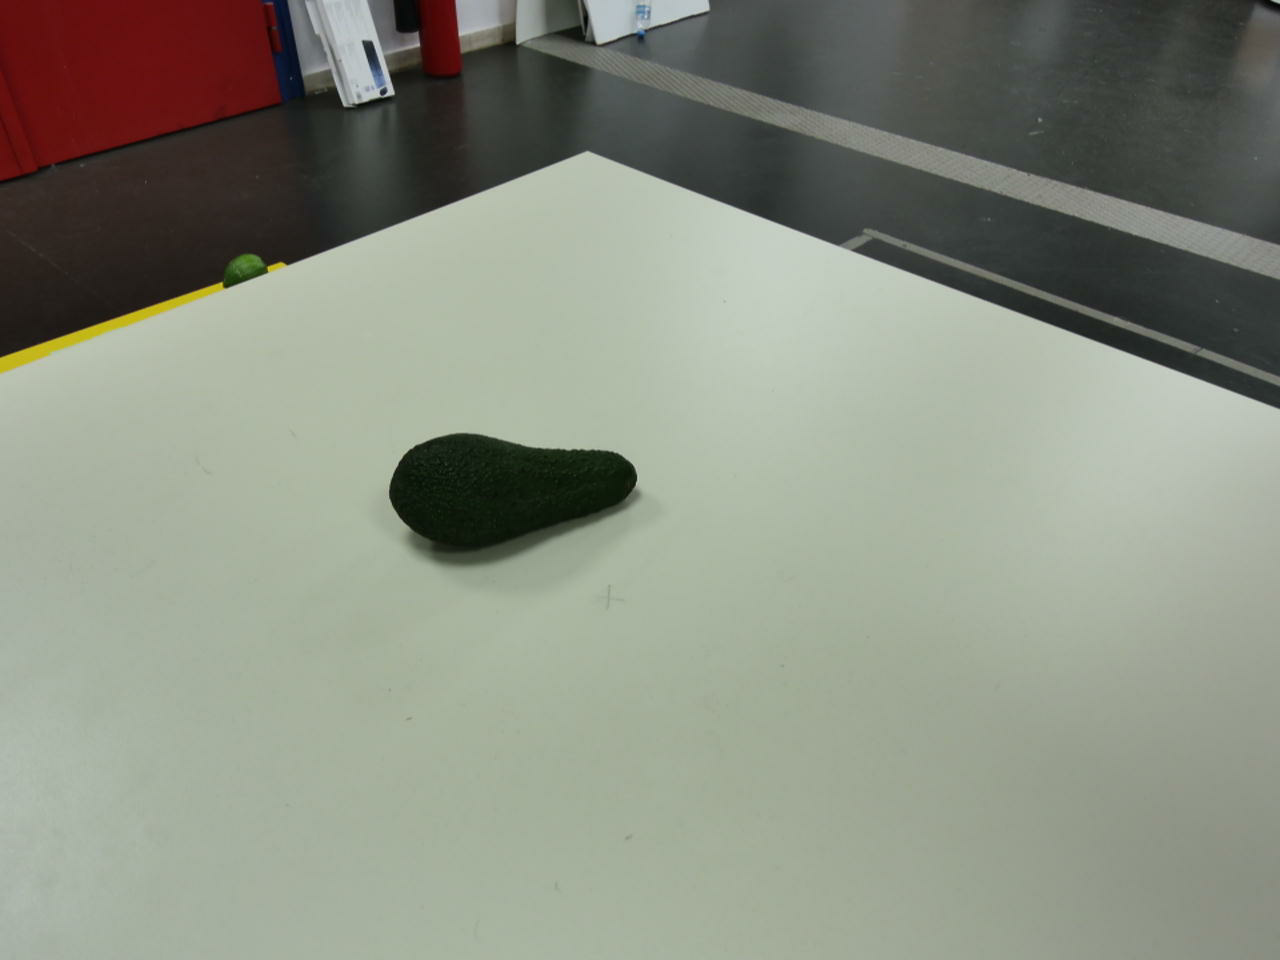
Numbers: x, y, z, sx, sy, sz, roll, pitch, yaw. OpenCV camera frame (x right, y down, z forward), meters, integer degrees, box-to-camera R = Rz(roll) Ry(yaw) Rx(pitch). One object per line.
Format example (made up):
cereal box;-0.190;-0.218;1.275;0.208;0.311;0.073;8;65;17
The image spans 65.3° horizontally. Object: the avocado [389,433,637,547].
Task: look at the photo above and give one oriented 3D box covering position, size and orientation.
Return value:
avocado;-0.071;-0.005;0.562;0.141;0.067;0.063;-22;43;-27
